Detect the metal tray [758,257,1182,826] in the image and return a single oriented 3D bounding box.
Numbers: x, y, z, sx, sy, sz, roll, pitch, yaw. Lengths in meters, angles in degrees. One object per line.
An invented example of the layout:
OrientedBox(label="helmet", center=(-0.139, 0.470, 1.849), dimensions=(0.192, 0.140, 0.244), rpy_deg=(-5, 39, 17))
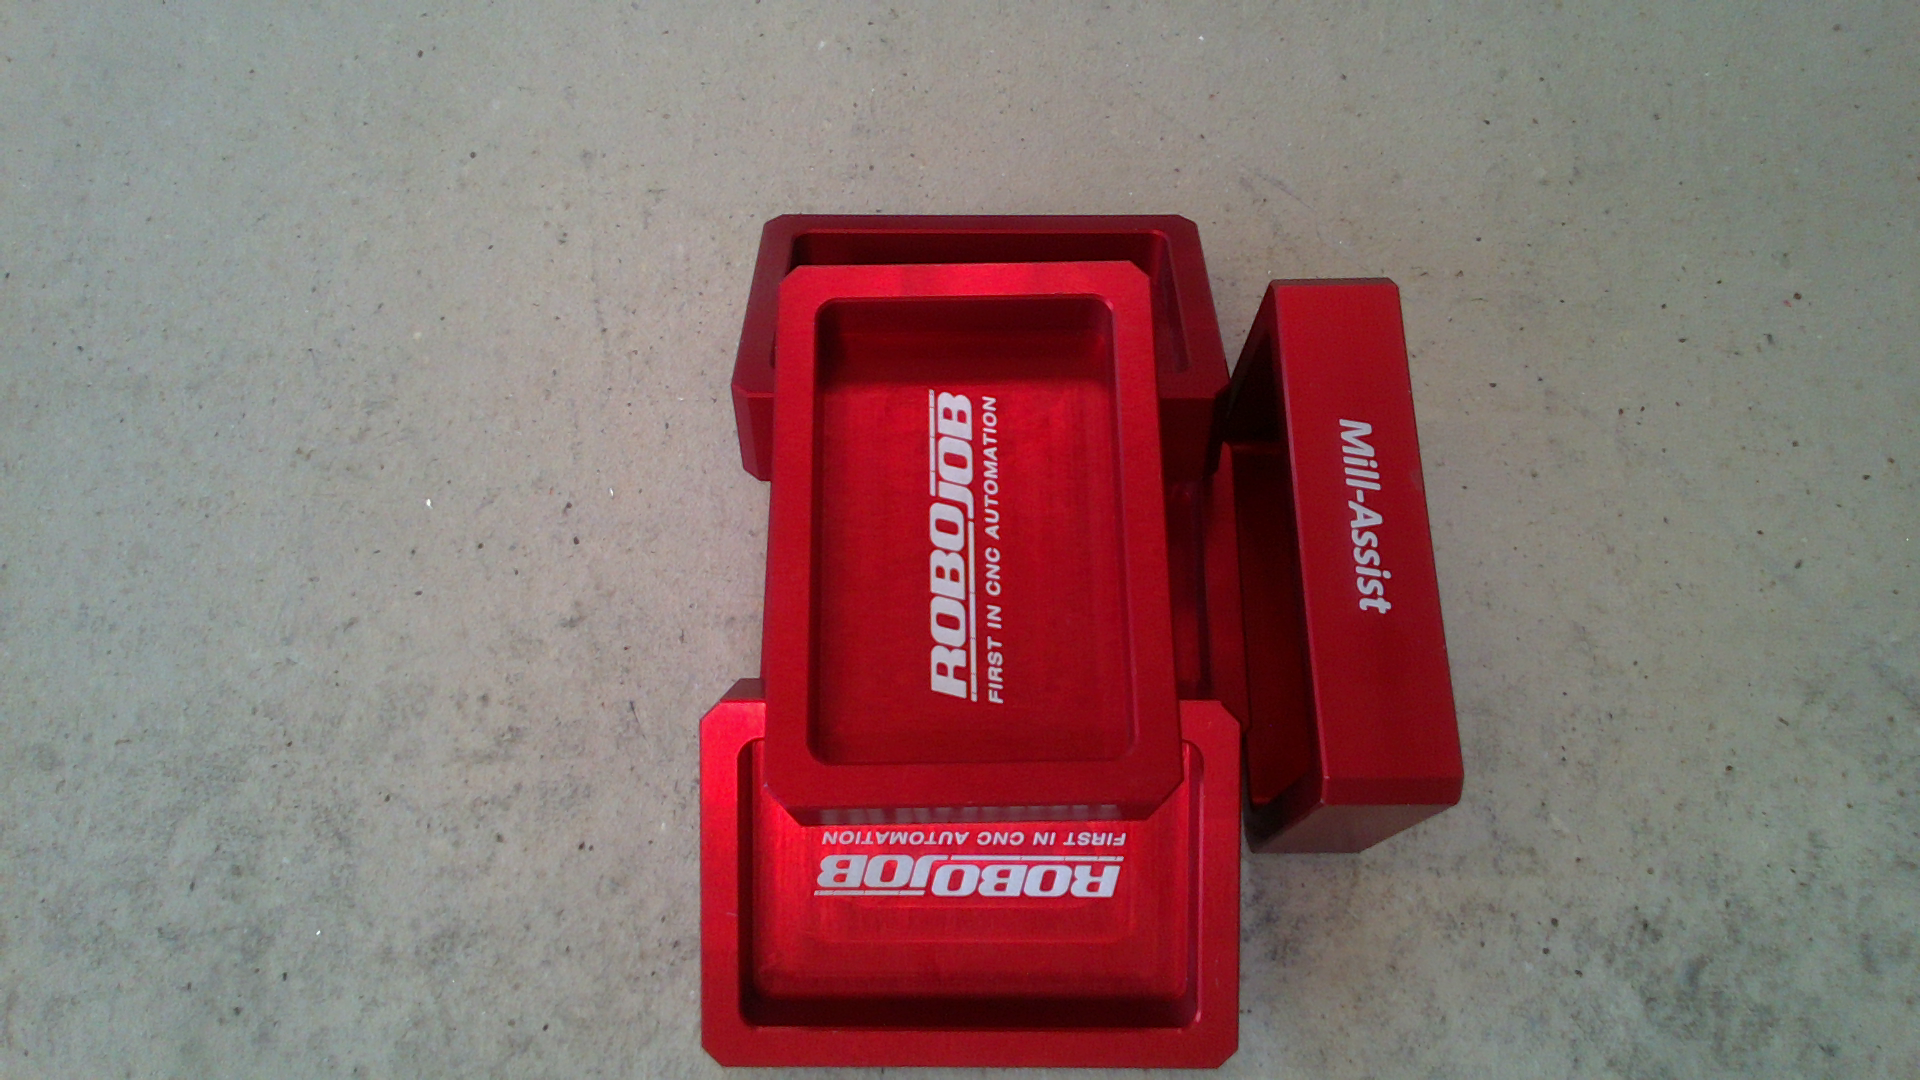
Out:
OrientedBox(label="metal tray", center=(0.001, -0.001, 0.323), dimensions=(0.090, 0.030, 0.130), rpy_deg=(-1, 72, 0))

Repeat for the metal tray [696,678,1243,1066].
OrientedBox(label="metal tray", center=(0.002, 0.082, 0.344), dimensions=(0.130, 0.030, 0.090), rpy_deg=(0, 95, 0))

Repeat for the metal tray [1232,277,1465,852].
OrientedBox(label="metal tray", center=(0.093, 0.010, 0.357), dimensions=(0.030, 0.090, 0.130), rpy_deg=(-1, 70, 0))

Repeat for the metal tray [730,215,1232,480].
OrientedBox(label="metal tray", center=(0.005, -0.057, 0.395), dimensions=(0.130, 0.030, 0.090), rpy_deg=(0, 43, -1))

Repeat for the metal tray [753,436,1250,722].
OrientedBox(label="metal tray", center=(0.011, 0.015, 0.385), dimensions=(0.130, 0.030, 0.090), rpy_deg=(-1, 72, 0))
